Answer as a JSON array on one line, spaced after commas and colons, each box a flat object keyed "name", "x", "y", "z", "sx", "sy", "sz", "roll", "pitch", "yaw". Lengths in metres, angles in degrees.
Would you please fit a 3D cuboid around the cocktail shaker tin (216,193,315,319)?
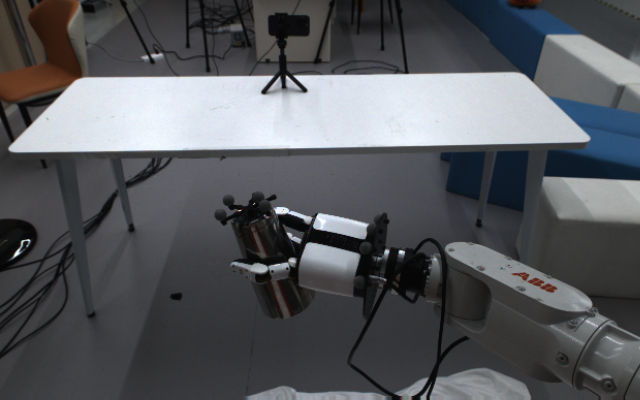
[{"name": "cocktail shaker tin", "x": -0.076, "y": 0.090, "z": 0.747, "sx": 0.093, "sy": 0.170, "sz": 0.093, "roll": -15, "pitch": 29, "yaw": 8}]
